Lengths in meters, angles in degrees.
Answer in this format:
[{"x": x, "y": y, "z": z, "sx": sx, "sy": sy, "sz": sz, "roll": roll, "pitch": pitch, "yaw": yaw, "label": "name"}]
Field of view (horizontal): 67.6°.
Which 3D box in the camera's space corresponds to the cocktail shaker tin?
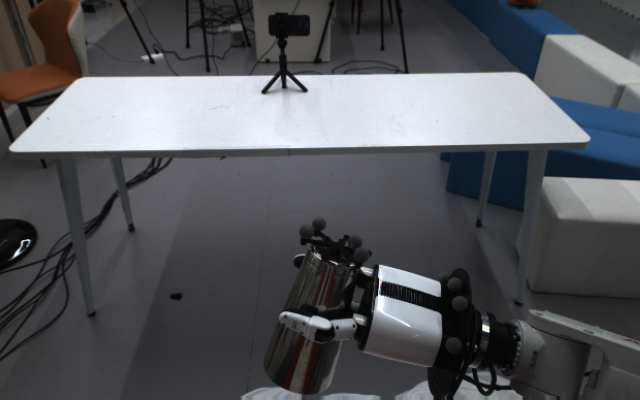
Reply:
[{"x": -0.006, "y": 0.140, "z": 0.598, "sx": 0.093, "sy": 0.170, "sz": 0.093, "roll": 15, "pitch": 17, "yaw": -5, "label": "cocktail shaker tin"}]
